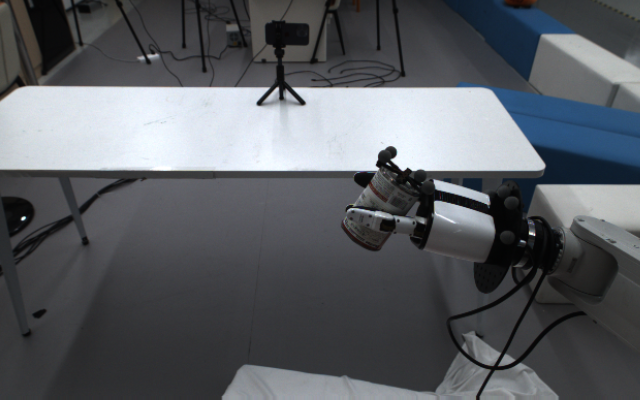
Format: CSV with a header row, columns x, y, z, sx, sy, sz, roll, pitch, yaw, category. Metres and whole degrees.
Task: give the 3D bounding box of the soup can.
x,y,z,sx,sy,sz,roll,pitch,yaw,category
0.085,0.011,0.666,0.067,0.101,0.067,28,22,-12,soup can
